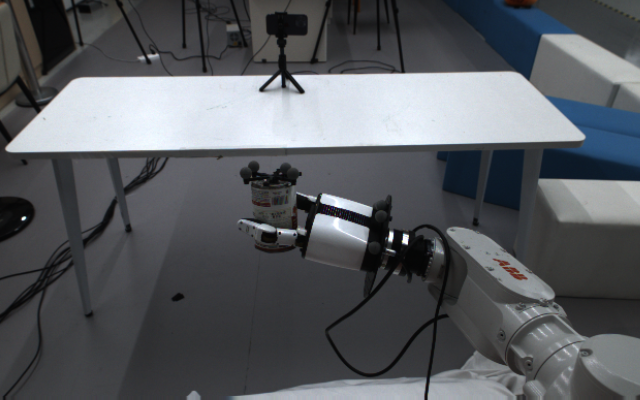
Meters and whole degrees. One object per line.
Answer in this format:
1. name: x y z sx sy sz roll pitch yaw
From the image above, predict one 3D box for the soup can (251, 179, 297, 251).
1. soup can: -0.066 0.020 0.720 0.067 0.101 0.067 -2 17 0
